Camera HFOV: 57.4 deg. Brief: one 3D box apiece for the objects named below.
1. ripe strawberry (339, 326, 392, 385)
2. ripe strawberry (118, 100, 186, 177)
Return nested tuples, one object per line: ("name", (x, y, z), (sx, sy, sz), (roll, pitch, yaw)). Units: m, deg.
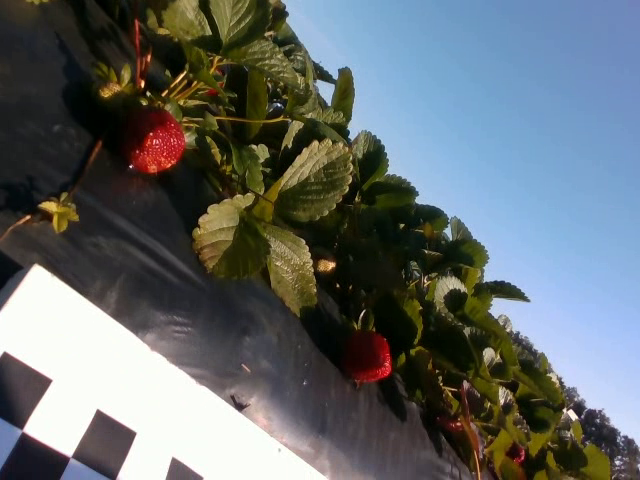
("ripe strawberry", (0.034, 0.084, 0.401), (0.043, 0.042, 0.050), (-19, 3, -13))
("ripe strawberry", (-0.092, -0.054, 0.314), (0.043, 0.041, 0.053), (-35, 22, -7))
